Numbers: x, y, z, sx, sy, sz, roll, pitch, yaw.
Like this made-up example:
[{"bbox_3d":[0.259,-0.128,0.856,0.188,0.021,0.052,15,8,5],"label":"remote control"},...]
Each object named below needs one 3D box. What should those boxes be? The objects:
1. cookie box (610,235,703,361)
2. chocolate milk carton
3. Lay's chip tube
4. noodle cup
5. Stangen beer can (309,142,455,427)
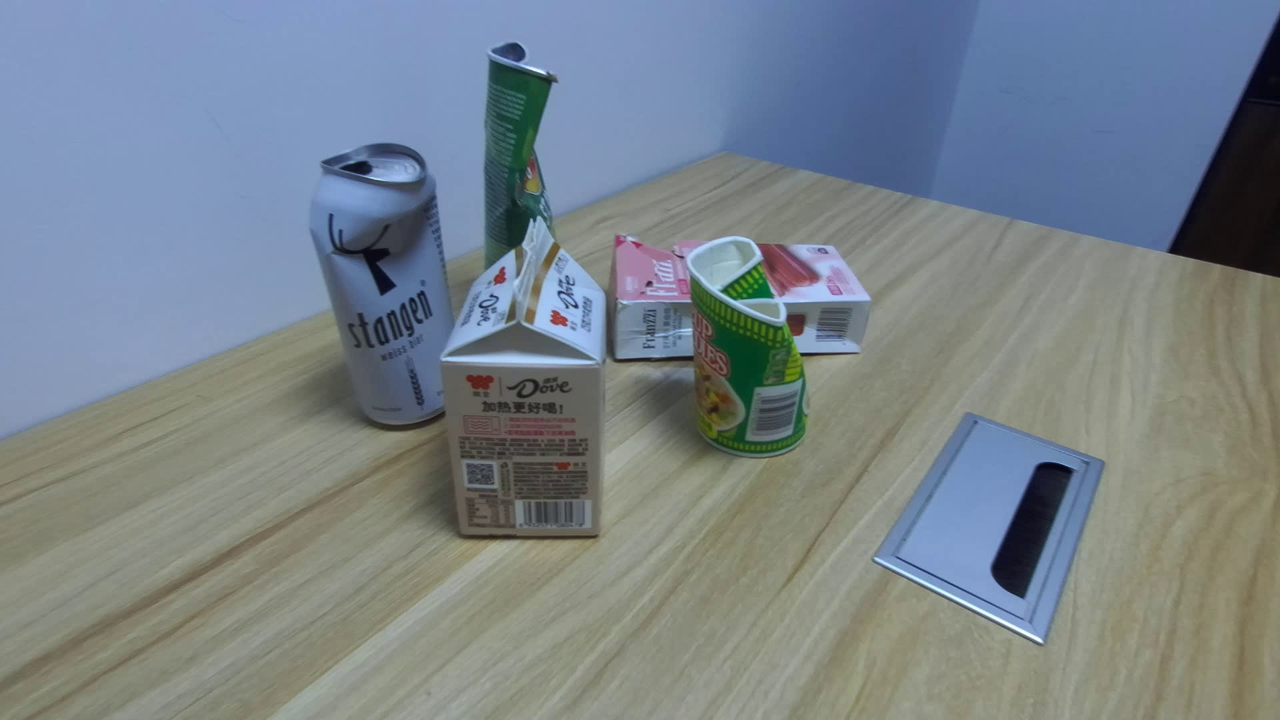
[{"bbox_3d":[0.072,-0.047,0.543,0.186,0.059,0.105,2,35,-6],"label":"cookie box"},{"bbox_3d":[-0.054,0.010,0.356,0.074,0.148,0.075,2,32,-2],"label":"chocolate milk carton"},{"bbox_3d":[-0.084,-0.109,0.494,0.077,0.201,0.069,27,40,30],"label":"Lay's chip tube"},{"bbox_3d":[0.068,-0.006,0.418,0.075,0.122,0.083,12,43,30],"label":"noodle cup"},{"bbox_3d":[-0.148,-0.040,0.421,0.066,0.162,0.077,-8,36,-16],"label":"Stangen beer can"}]
